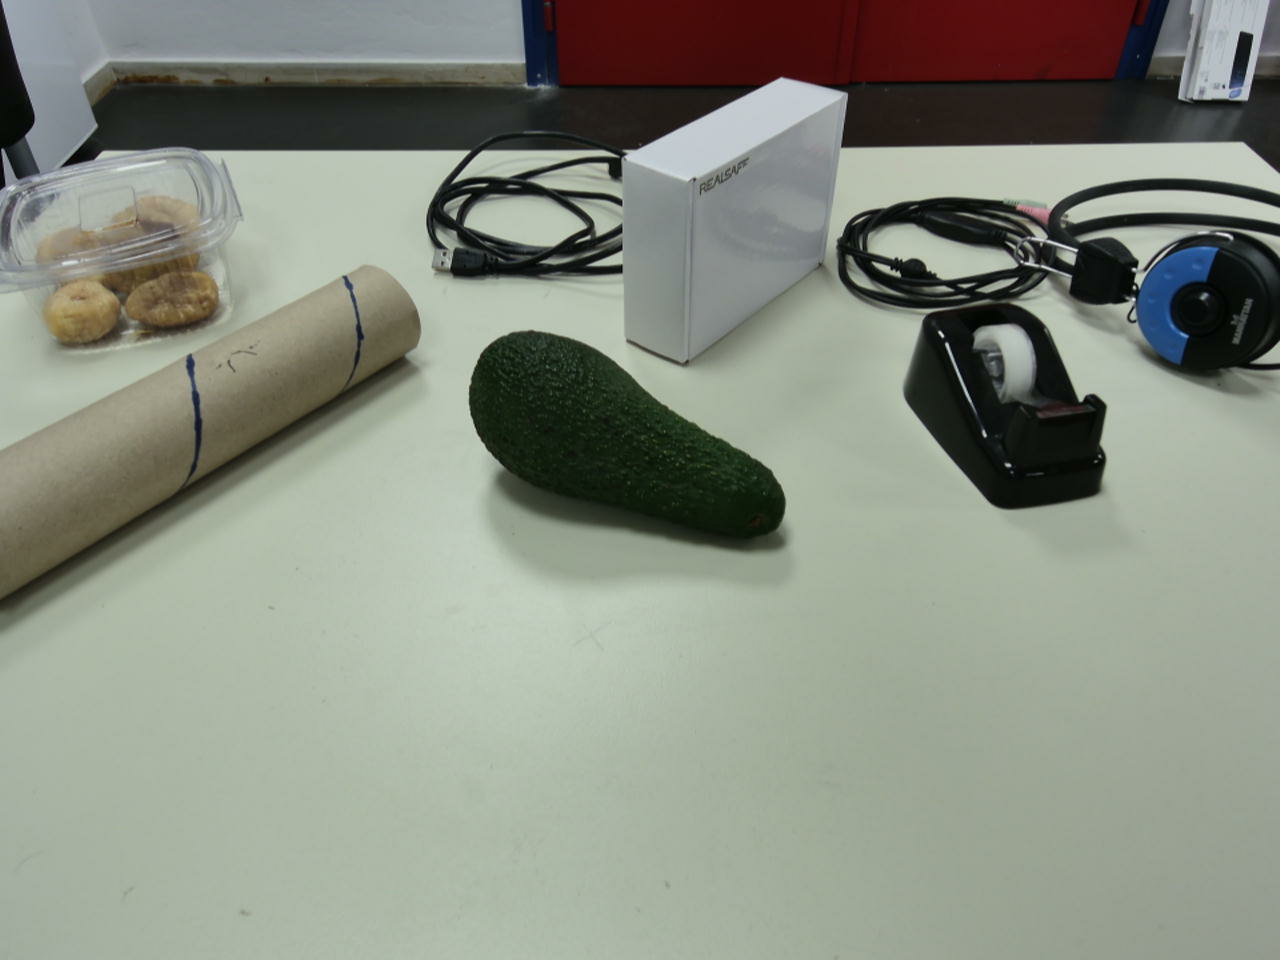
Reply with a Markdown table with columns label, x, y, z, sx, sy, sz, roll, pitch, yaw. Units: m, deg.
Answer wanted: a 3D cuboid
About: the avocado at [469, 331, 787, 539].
| label | x | y | z | sx | sy | sz | roll | pitch | yaw |
| --- | --- | --- | --- | --- | --- | --- | --- | --- | --- |
| avocado | -0.006 | -0.024 | 0.415 | 0.141 | 0.067 | 0.063 | 9 | 40 | 12 |
